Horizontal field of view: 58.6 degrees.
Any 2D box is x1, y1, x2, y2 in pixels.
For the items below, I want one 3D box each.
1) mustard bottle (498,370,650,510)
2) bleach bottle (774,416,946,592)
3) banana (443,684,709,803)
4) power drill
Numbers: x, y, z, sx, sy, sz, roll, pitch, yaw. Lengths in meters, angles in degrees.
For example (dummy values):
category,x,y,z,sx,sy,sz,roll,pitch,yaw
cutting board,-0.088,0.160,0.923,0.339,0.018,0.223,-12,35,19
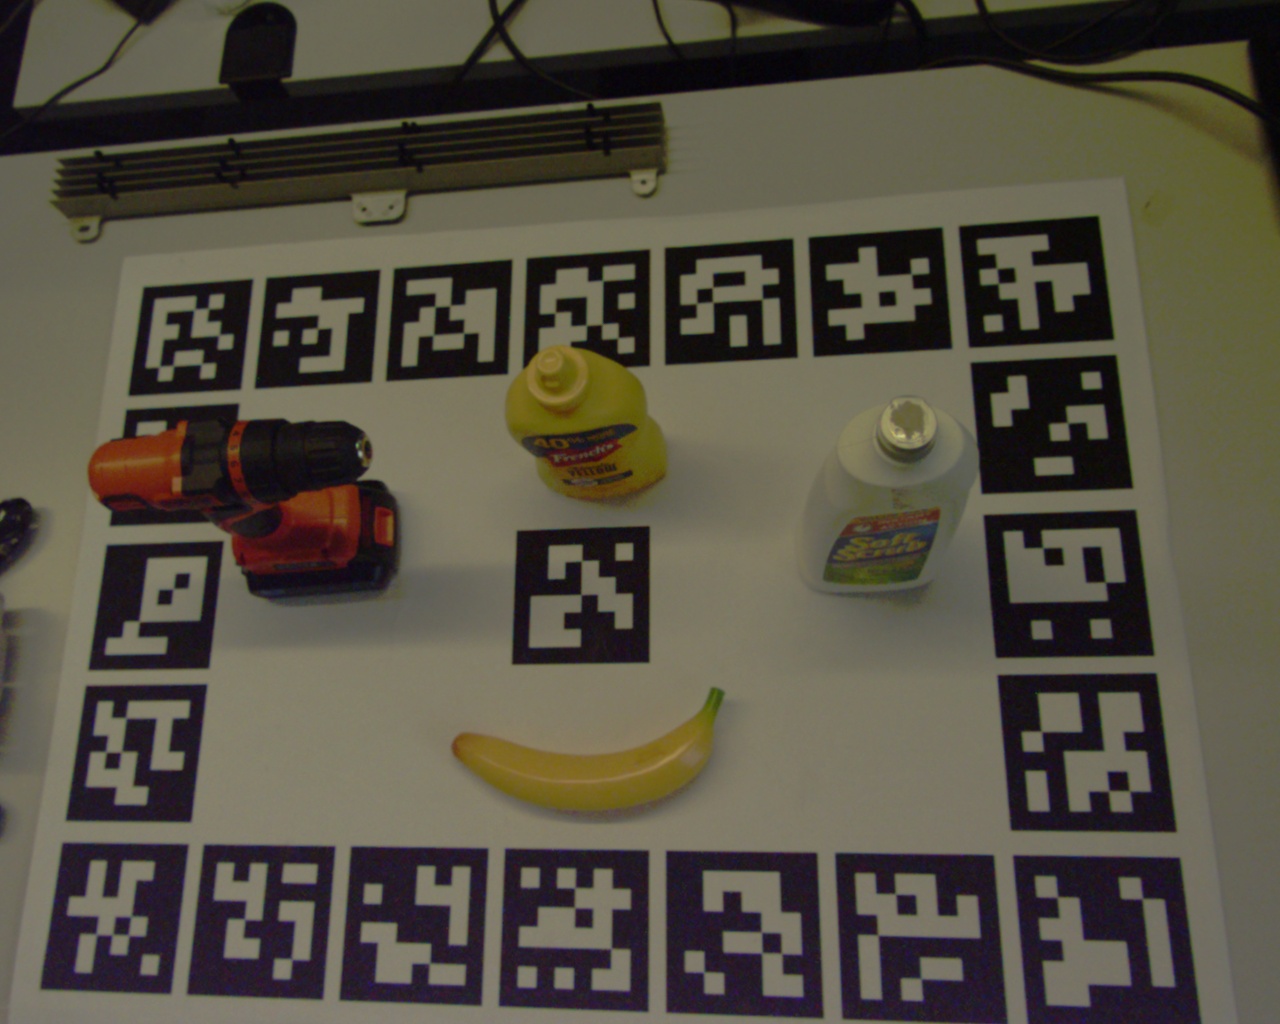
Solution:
category,x,y,z,sx,sy,sz,roll,pitch,yaw
mustard bottle,-0.049,-0.054,0.808,0.096,0.190,0.058,-9,73,4
bleach bottle,0.136,-0.006,0.730,0.103,0.249,0.068,6,76,10
banana,-0.045,0.170,0.812,0.198,0.038,0.074,-8,75,10
power drill,-0.241,-0.011,0.797,0.185,0.185,0.057,-8,74,11
